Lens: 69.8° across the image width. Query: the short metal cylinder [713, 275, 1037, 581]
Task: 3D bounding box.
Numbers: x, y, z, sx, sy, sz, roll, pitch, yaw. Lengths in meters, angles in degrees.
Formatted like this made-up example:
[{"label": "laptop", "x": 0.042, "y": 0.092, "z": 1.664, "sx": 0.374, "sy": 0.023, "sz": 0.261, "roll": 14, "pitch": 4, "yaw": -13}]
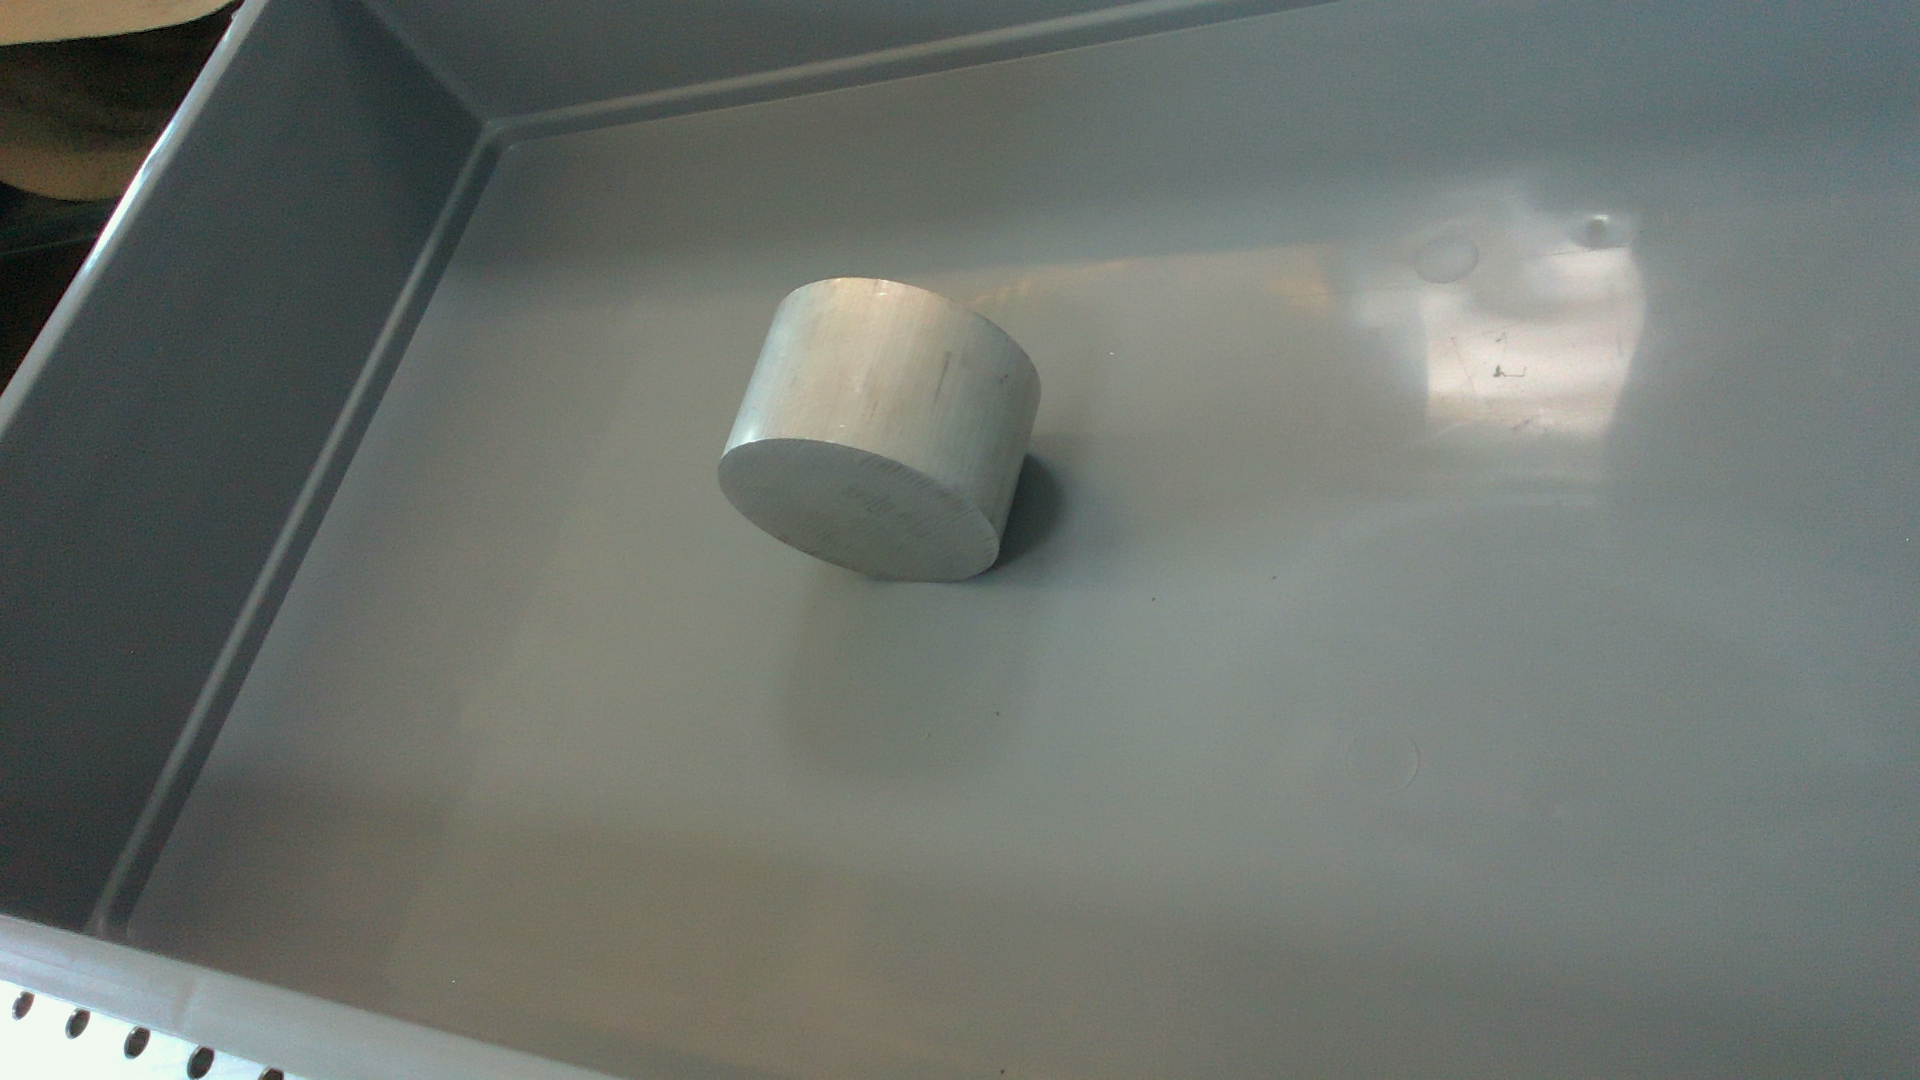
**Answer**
[{"label": "short metal cylinder", "x": -0.023, "y": -0.029, "z": 0.385, "sx": 0.080, "sy": 0.080, "sz": 0.050, "roll": 2, "pitch": 62, "yaw": 29}]
